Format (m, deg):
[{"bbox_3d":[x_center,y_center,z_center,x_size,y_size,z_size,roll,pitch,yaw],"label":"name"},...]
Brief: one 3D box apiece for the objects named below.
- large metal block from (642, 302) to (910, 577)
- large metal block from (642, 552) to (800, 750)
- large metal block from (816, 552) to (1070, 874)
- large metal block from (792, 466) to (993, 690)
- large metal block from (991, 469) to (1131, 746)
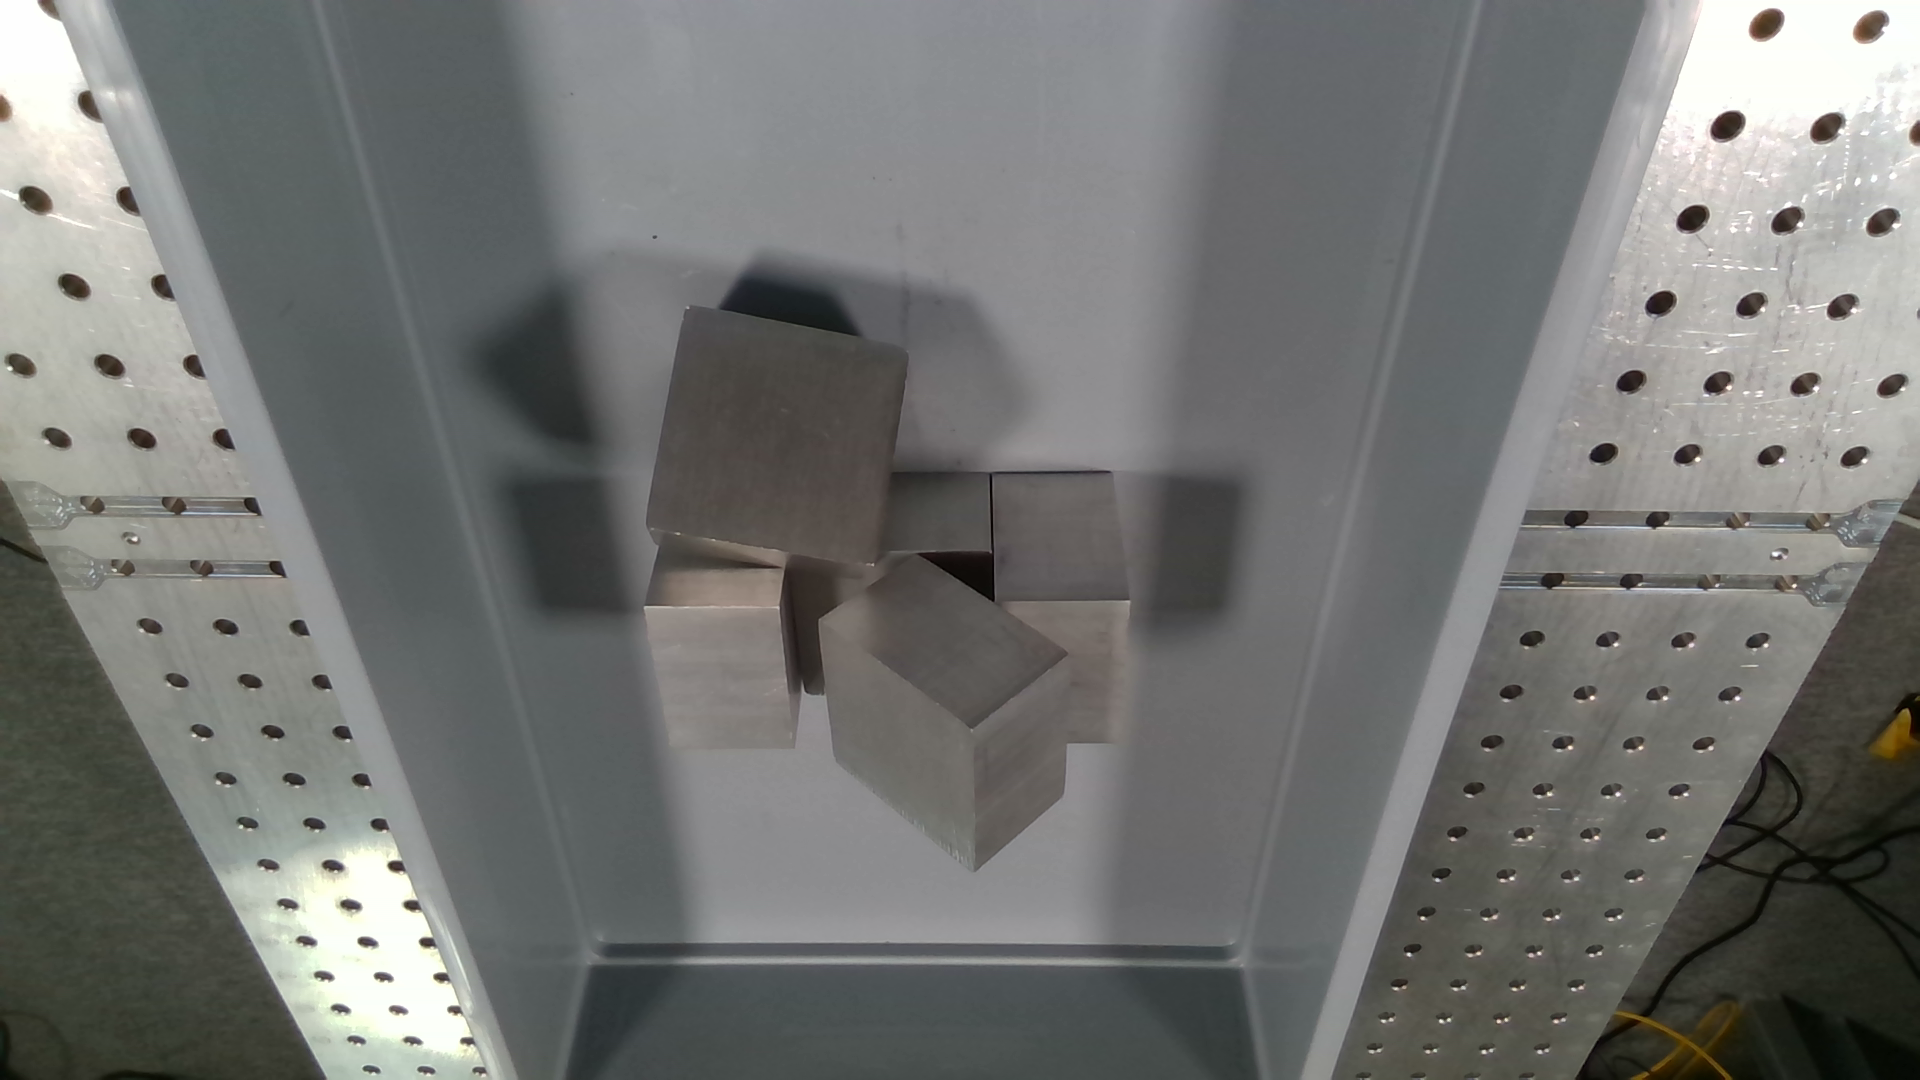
[{"bbox_3d":[-0.067,-0.034,0.503,0.080,0.080,0.050,10,172,-8],"label":"large metal block"},{"bbox_3d":[-0.093,0.029,0.565,0.050,0.080,0.080,0,130,0],"label":"large metal block"},{"bbox_3d":[-0.006,0.065,0.523,0.050,0.080,0.080,-33,140,-32],"label":"large metal block"},{"bbox_3d":[-0.026,0.017,0.577,0.080,0.050,0.080,-1,130,1],"label":"large metal block"},{"bbox_3d":[0.039,0.027,0.564,0.050,0.080,0.080,-1,130,1],"label":"large metal block"}]
